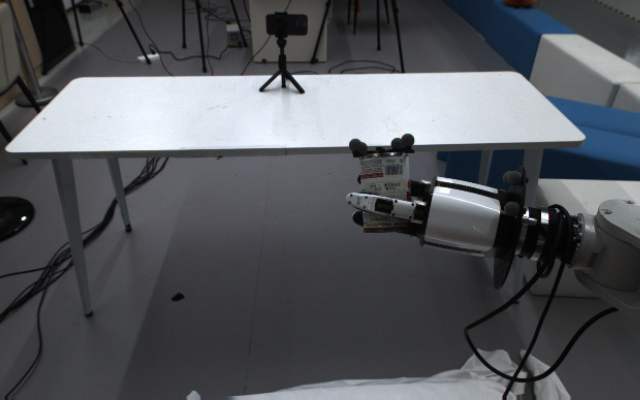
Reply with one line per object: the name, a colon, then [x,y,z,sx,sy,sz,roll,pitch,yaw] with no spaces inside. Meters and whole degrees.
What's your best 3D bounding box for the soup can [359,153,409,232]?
soup can: [0.090,-0.009,0.647,0.067,0.101,0.067,-3,-1,0]
